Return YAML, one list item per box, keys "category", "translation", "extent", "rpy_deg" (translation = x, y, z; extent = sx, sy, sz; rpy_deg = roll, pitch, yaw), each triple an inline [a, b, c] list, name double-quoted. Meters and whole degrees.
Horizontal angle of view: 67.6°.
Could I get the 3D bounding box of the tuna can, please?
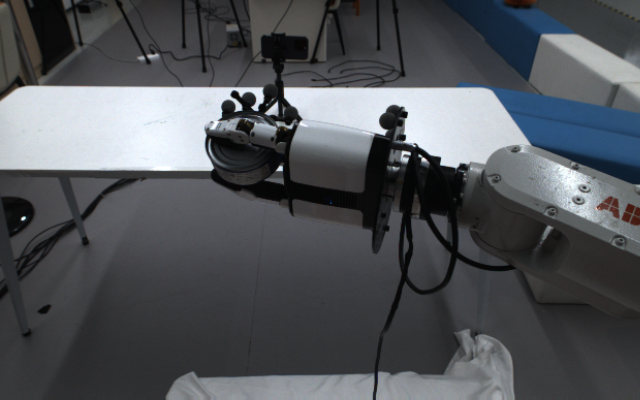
- category: "tuna can"
  translation: [-0.086, -0.061, 0.559]
  extent: [0.085, 0.034, 0.085]
  rpy_deg: [-2, 58, 4]
